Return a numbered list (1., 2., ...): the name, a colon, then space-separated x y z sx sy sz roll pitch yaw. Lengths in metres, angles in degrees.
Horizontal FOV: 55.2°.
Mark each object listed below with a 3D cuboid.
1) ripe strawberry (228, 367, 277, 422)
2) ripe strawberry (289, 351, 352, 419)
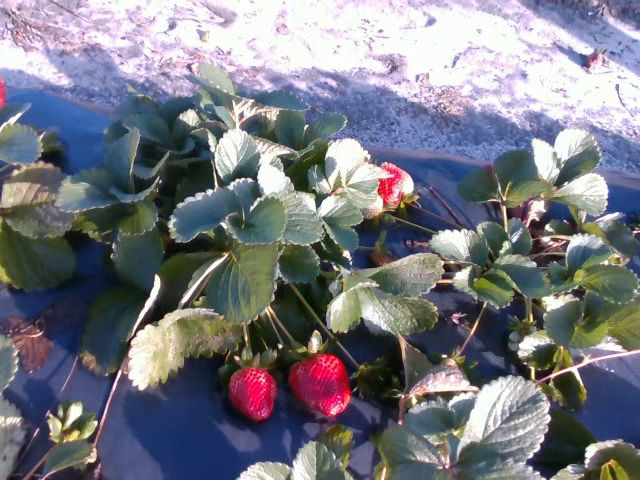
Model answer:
1. ripe strawberry: -0.050 0.118 0.453 0.052 0.043 0.037 52 -1 42
2. ripe strawberry: 0.004 0.115 0.466 0.052 0.046 0.058 -28 45 -2
